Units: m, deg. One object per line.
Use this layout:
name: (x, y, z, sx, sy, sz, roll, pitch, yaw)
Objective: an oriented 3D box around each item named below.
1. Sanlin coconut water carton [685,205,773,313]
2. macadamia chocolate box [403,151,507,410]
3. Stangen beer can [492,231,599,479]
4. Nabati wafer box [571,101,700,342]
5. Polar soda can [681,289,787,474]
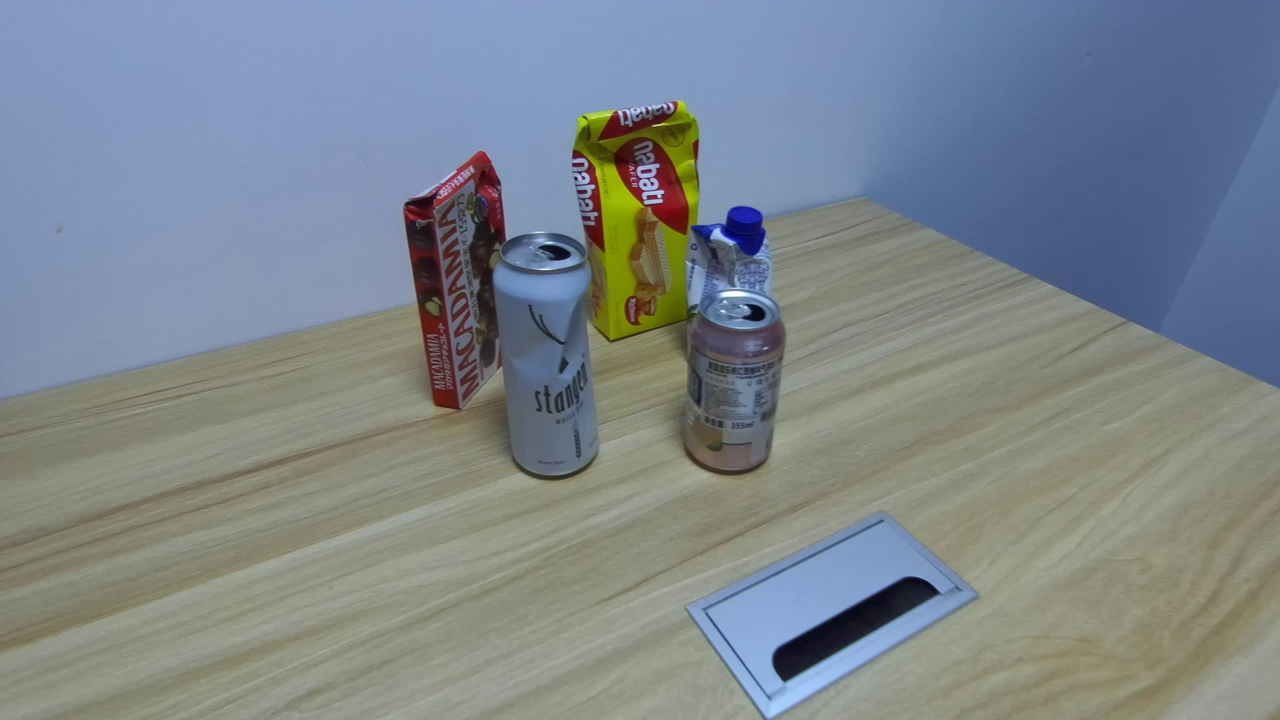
Sanlin coconut water carton: (0.076, -0.061, 0.603, 0.057, 0.145, 0.068, -21, 32, -37)
macadamia chocolate box: (-0.139, -0.062, 0.569, 0.027, 0.187, 0.103, 14, 37, 14)
Stangen beer can: (-0.062, -0.001, 0.492, 0.070, 0.173, 0.069, -22, 40, -29)
Nabati wafer box: (0.000, -0.121, 0.636, 0.113, 0.205, 0.042, -18, 36, -22)
Polar soda can: (0.067, 0.016, 0.508, 0.067, 0.126, 0.067, 0, 32, 1)
